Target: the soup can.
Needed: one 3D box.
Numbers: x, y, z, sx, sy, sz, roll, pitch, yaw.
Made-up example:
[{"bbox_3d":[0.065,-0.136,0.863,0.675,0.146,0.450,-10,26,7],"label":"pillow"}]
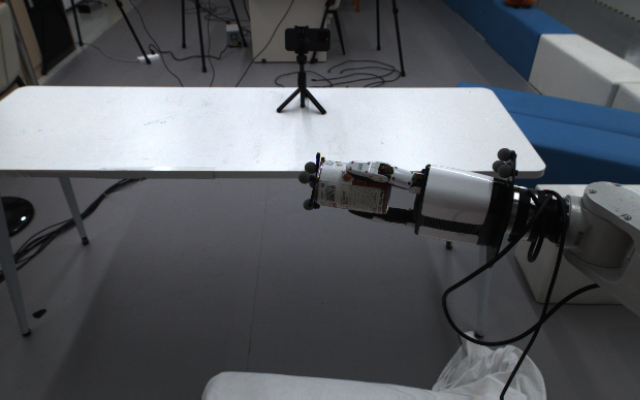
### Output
[{"bbox_3d":[0.051,-0.019,0.691,0.101,0.067,0.067,8,35,9],"label":"soup can"}]
